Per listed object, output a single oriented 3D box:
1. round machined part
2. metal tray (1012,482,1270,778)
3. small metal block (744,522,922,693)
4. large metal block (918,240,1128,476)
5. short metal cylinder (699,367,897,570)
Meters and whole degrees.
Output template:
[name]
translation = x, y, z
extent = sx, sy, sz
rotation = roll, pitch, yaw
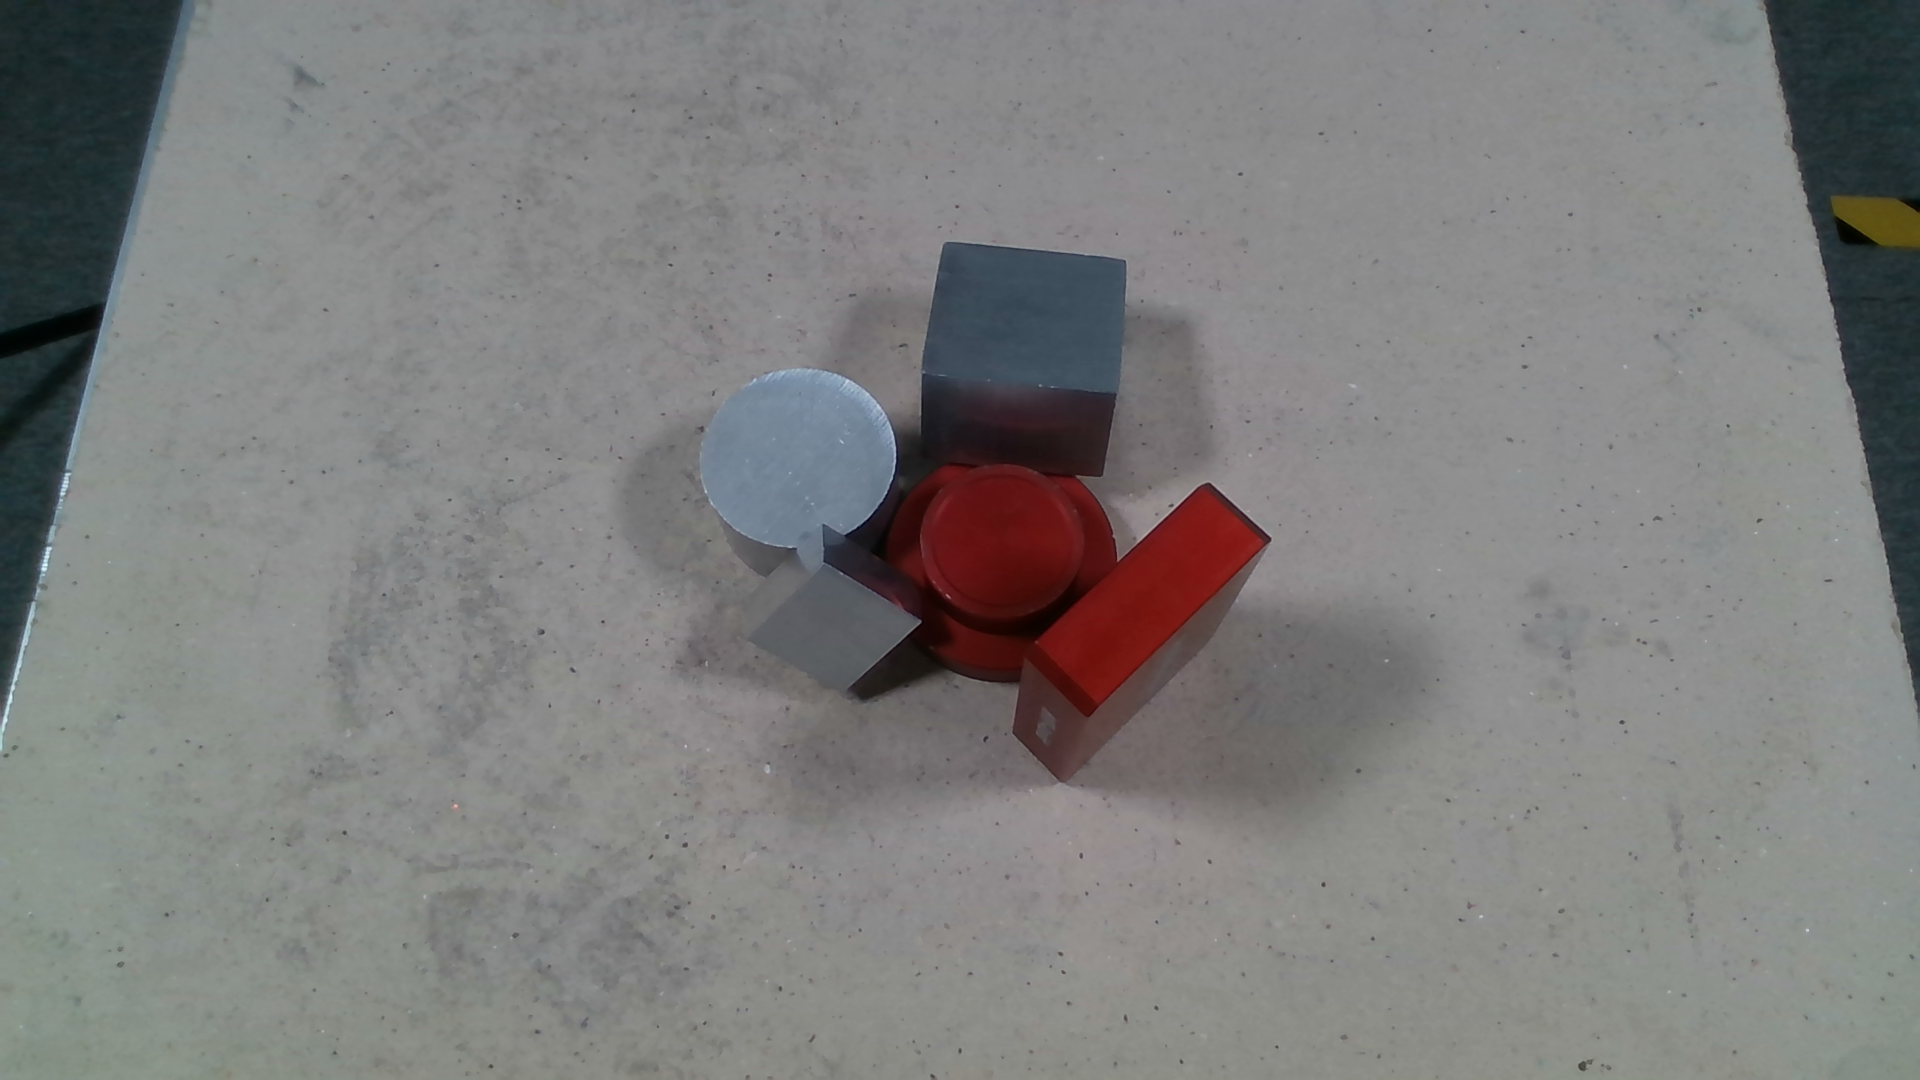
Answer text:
[round machined part]
translation = 0.017, 0.007, 0.578
extent = 0.098, 0.042, 0.098
rotation = 0, 70, 0
[metal tray]
translation = 0.063, 0.039, 0.517
extent = 0.090, 0.130, 0.030
rotation = -42, 76, -14
[small metal block]
translation = -0.051, 0.028, 0.553
extent = 0.050, 0.050, 0.025
rotation = -42, 32, 25
[large metal block]
translation = 0.027, -0.079, 0.590
extent = 0.080, 0.050, 0.080
rotation = 7, 53, 2
[short metal cylinder]
translation = -0.066, -0.026, 0.585
extent = 0.080, 0.050, 0.080
rotation = 0, 70, 0
